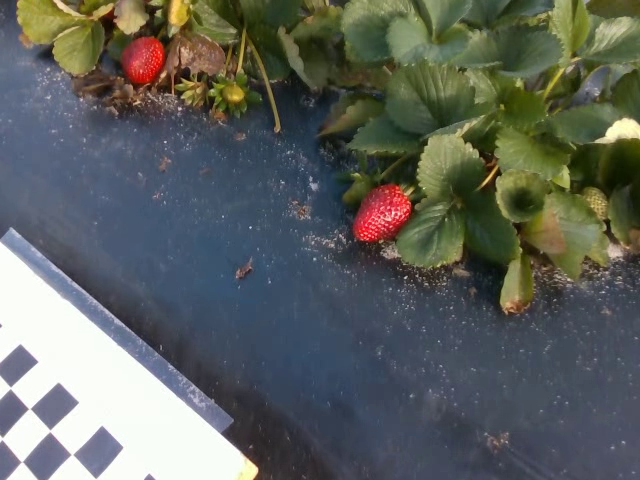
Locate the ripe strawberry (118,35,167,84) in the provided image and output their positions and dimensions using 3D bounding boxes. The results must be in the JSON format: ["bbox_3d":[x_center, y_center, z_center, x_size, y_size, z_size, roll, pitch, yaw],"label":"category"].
[{"bbox_3d":[-0.104,-0.102,0.354,0.032,0.026,0.030,-3,36,7],"label":"ripe strawberry"}]

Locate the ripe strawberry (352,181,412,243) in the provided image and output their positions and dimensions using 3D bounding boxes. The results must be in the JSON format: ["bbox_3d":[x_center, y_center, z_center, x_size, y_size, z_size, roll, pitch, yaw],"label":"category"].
[{"bbox_3d":[0.025,-0.012,0.277,0.029,0.021,0.036,30,58,32],"label":"ripe strawberry"}]
